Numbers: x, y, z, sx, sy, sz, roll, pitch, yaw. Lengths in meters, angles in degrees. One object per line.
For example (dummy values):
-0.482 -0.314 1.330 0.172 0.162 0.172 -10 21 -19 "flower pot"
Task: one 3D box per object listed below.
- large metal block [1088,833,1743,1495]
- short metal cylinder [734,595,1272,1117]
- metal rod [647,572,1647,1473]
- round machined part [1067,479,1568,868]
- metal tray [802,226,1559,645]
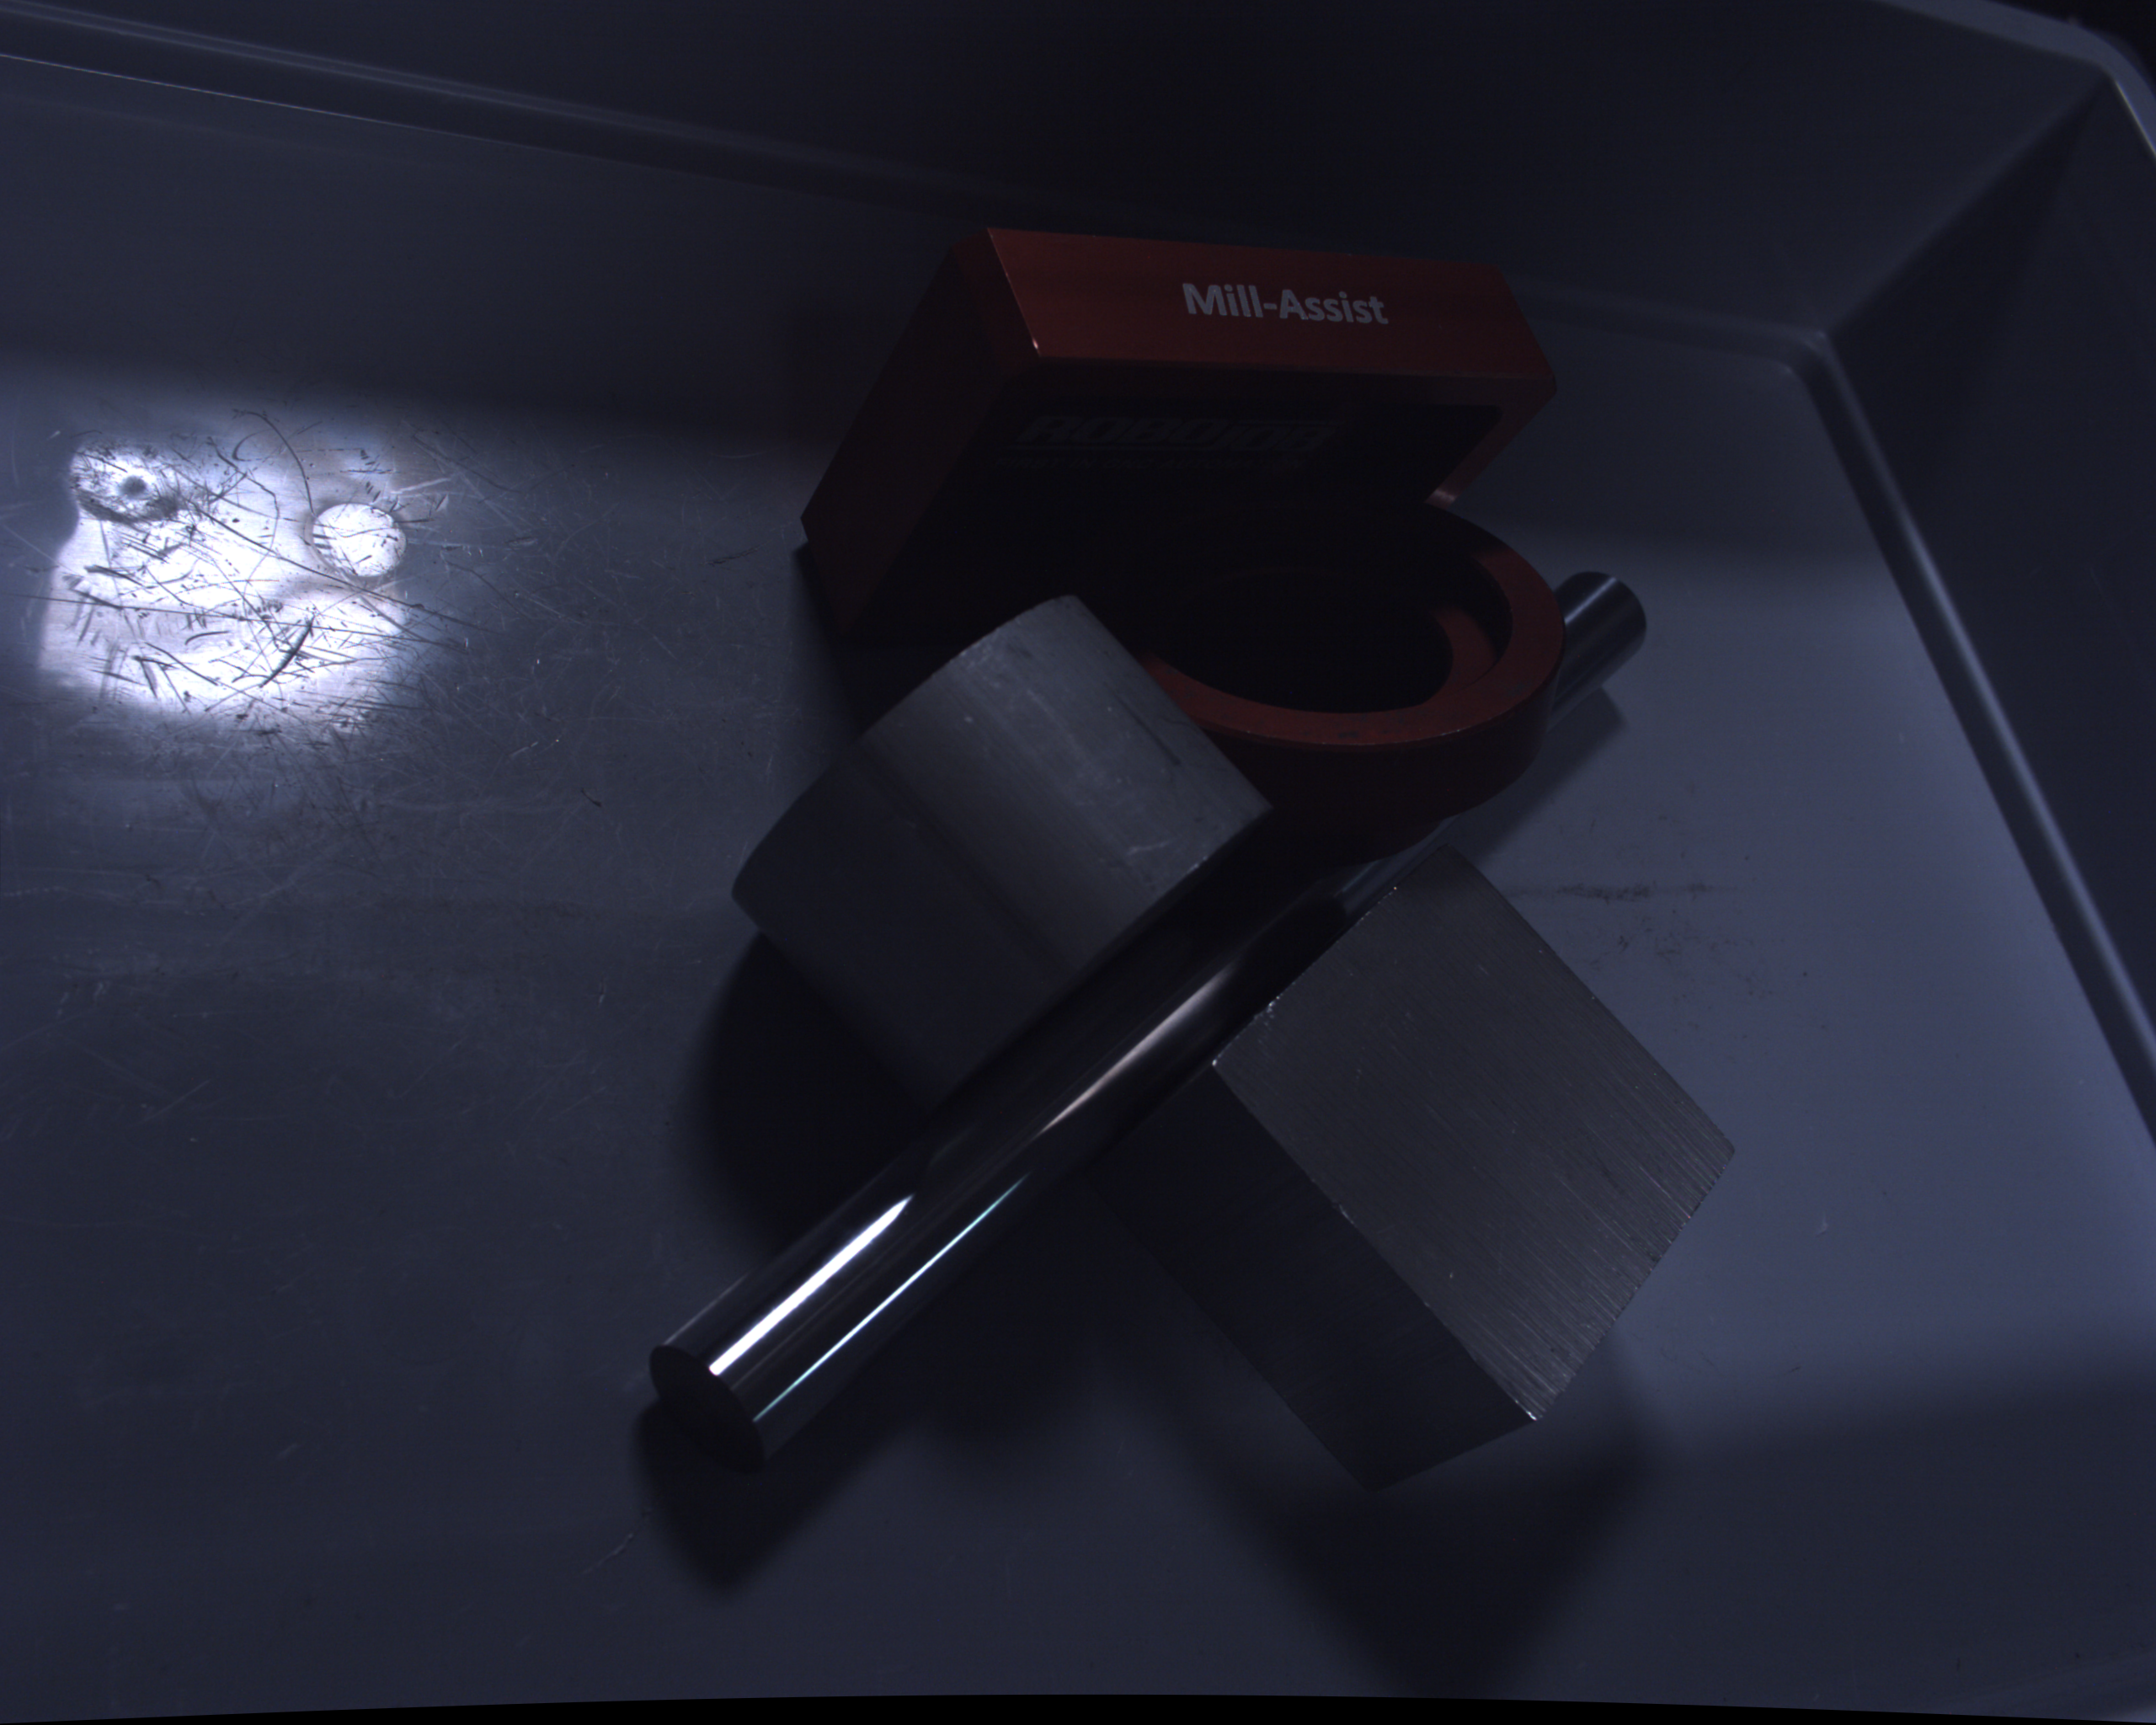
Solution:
0.062 0.055 0.388 0.080 0.050 0.080 48 51 5 "large metal block"
-0.012 -0.001 0.364 0.050 0.080 0.080 48 51 4 "short metal cylinder"
0.035 0.012 0.417 0.025 0.025 0.302 48 51 5 "metal rod"
0.046 -0.036 0.424 0.099 0.042 0.098 3 39 -2 "round machined part"
0.021 -0.083 0.424 0.131 0.090 0.030 -7 65 -32 "metal tray"
